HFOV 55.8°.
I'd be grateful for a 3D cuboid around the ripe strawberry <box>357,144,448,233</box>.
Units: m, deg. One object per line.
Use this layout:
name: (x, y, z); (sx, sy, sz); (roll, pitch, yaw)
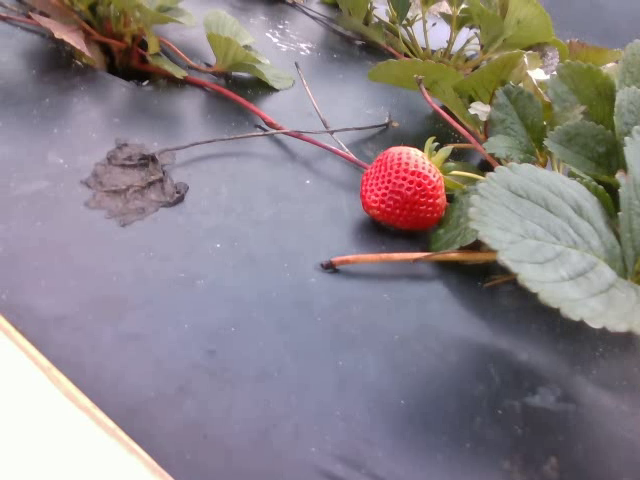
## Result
ripe strawberry: (0.049, -0.037, 0.378); (0.065, 0.061, 0.049); (-40, -19, -12)
